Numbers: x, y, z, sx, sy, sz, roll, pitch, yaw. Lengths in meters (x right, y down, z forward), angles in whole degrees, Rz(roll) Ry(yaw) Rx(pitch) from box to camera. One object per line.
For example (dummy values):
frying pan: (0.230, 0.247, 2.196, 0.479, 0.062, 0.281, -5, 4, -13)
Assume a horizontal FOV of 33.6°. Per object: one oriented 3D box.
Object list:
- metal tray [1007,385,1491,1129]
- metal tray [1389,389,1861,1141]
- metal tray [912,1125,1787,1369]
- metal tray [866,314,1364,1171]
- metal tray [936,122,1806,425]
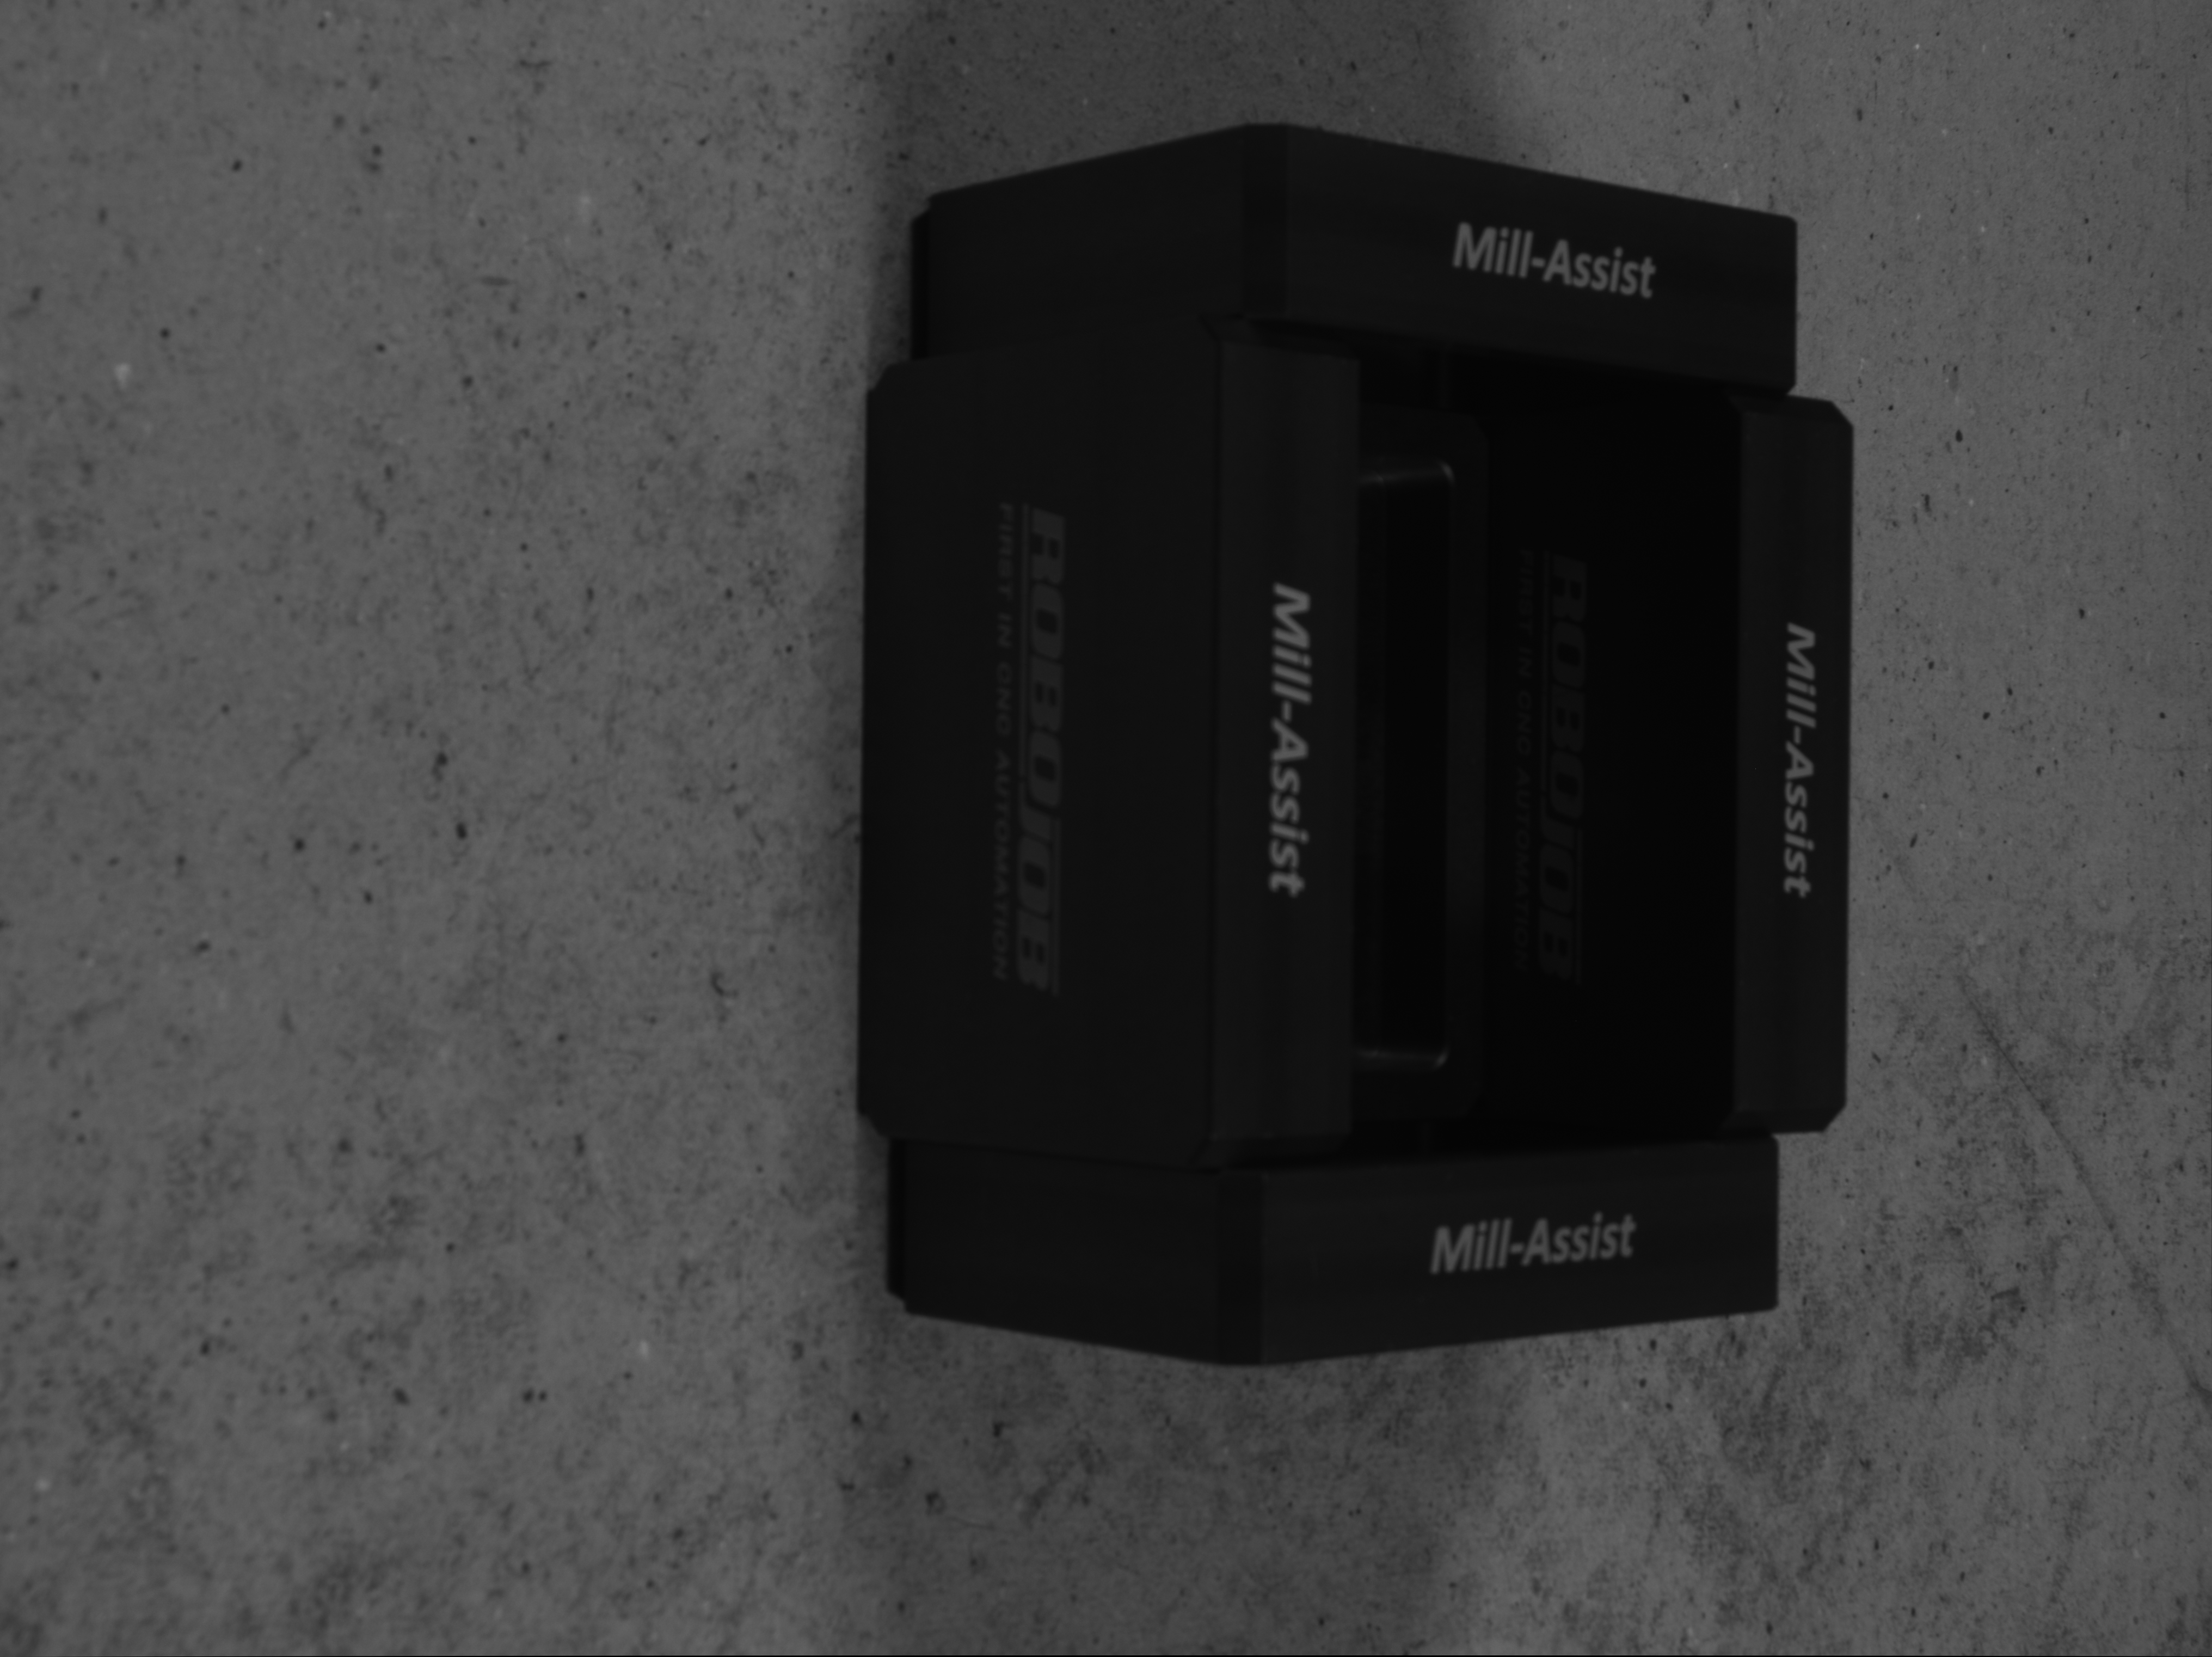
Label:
metal tray: (0.027, -0.012, 0.656, 0.090, 0.030, 0.130, 1, 89, -40)
metal tray: (0.093, -0.011, 0.672, 0.030, 0.090, 0.130, 1, 89, -40)
metal tray: (0.043, 0.068, 0.630, 0.130, 0.090, 0.030, 1, 89, -40)
metal tray: (0.000, -0.013, 0.594, 0.030, 0.090, 0.130, 1, 89, -40)
metal tray: (0.047, -0.092, 0.634, 0.130, 0.090, 0.030, 1, 89, -40)
